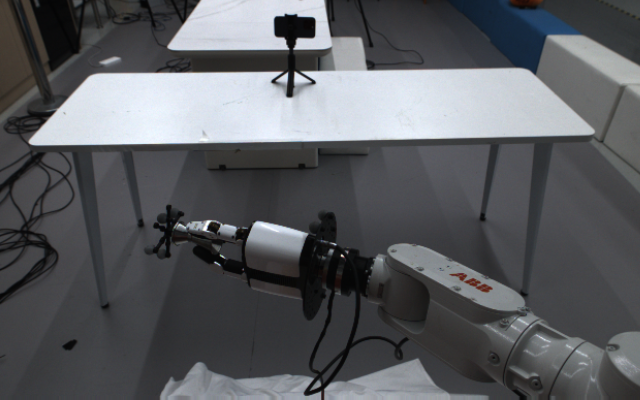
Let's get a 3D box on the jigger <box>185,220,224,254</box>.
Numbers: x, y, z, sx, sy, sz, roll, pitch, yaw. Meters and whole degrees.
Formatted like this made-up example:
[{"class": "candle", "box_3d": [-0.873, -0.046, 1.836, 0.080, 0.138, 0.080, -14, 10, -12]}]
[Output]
[{"class": "jigger", "box_3d": [-0.185, 0.054, 0.752, 0.071, 0.043, 0.043, 9, 35, 12]}]
